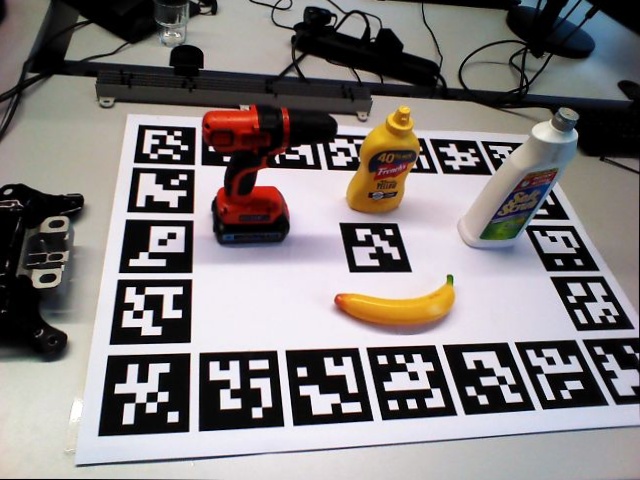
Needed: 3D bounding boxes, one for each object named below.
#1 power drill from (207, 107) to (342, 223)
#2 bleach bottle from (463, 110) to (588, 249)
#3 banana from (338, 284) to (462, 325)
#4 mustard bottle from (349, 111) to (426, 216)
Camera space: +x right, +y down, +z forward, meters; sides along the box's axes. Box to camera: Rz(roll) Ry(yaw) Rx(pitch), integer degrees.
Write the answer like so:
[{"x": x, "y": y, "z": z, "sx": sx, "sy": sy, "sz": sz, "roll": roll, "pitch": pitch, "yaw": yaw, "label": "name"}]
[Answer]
[{"x": -0.060, "y": -0.107, "z": 0.725, "sx": 0.184, "sy": 0.188, "sz": 0.057, "roll": -6, "pitch": 53, "yaw": -12, "label": "power drill"}, {"x": 0.315, "y": -0.088, "z": 0.788, "sx": 0.103, "sy": 0.252, "sz": 0.067, "roll": 8, "pitch": 50, "yaw": -7, "label": "bleach bottle"}, {"x": 0.125, "y": 0.086, "z": 0.733, "sx": 0.197, "sy": 0.039, "sz": 0.074, "roll": -5, "pitch": 54, "yaw": -12, "label": "banana"}, {"x": 0.114, "y": -0.121, "z": 0.814, "sx": 0.096, "sy": 0.192, "sz": 0.058, "roll": -5, "pitch": 52, "yaw": -18, "label": "mustard bottle"}]
